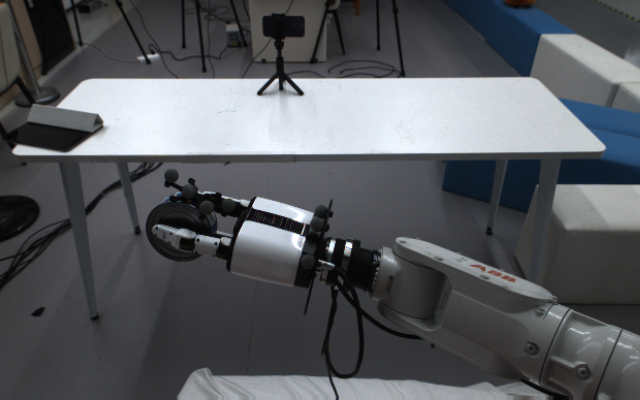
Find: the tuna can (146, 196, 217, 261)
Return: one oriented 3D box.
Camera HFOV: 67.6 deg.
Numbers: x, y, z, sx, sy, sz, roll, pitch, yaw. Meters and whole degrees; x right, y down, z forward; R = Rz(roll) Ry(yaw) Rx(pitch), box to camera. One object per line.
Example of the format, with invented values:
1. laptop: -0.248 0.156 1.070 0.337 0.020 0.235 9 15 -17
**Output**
1. tuna can: -0.178 0.037 0.633 0.085 0.085 0.034 4 19 3
